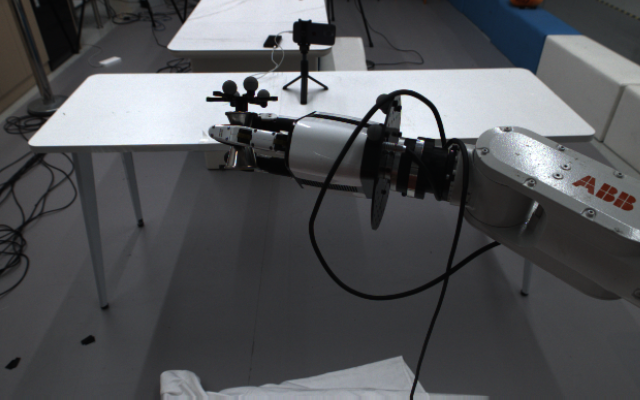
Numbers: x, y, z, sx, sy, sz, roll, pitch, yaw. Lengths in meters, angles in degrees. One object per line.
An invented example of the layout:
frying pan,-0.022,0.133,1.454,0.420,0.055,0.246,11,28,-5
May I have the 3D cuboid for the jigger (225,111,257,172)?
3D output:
jigger,-0.096,-0.073,0.599,0.043,0.071,0.043,0,2,0
